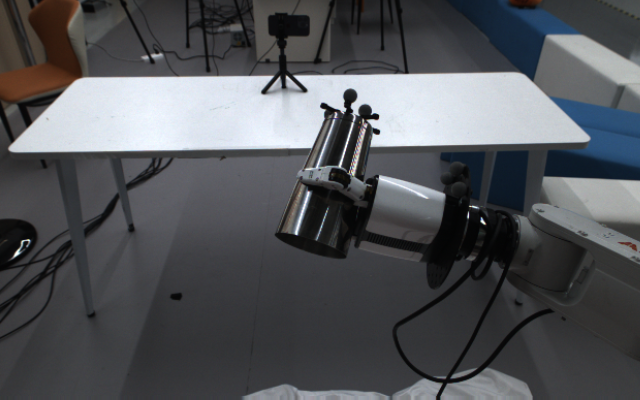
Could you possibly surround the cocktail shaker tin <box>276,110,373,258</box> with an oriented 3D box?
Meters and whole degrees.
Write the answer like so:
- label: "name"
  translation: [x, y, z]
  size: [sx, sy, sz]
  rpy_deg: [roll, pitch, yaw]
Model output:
- label: "cocktail shaker tin"
  translation: [0.013, -0.021, 0.611]
  size: [0.093, 0.093, 0.170]
  rpy_deg: [14, 74, 16]
